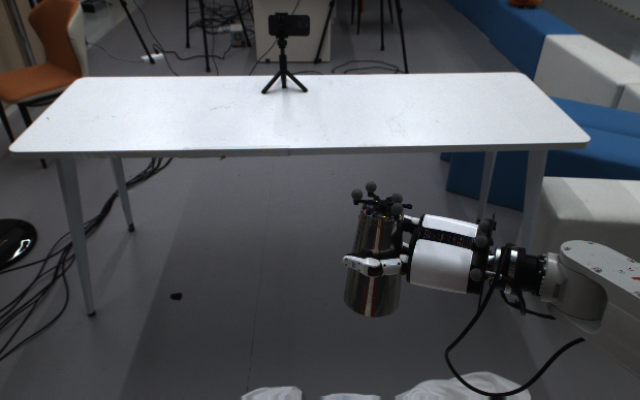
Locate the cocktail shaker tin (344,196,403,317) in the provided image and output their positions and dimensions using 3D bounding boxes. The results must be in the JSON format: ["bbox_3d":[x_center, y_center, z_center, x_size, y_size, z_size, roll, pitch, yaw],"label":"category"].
[{"bbox_3d":[0.090,0.088,0.770,0.093,0.170,0.093,3,26,-1],"label":"cocktail shaker tin"}]
